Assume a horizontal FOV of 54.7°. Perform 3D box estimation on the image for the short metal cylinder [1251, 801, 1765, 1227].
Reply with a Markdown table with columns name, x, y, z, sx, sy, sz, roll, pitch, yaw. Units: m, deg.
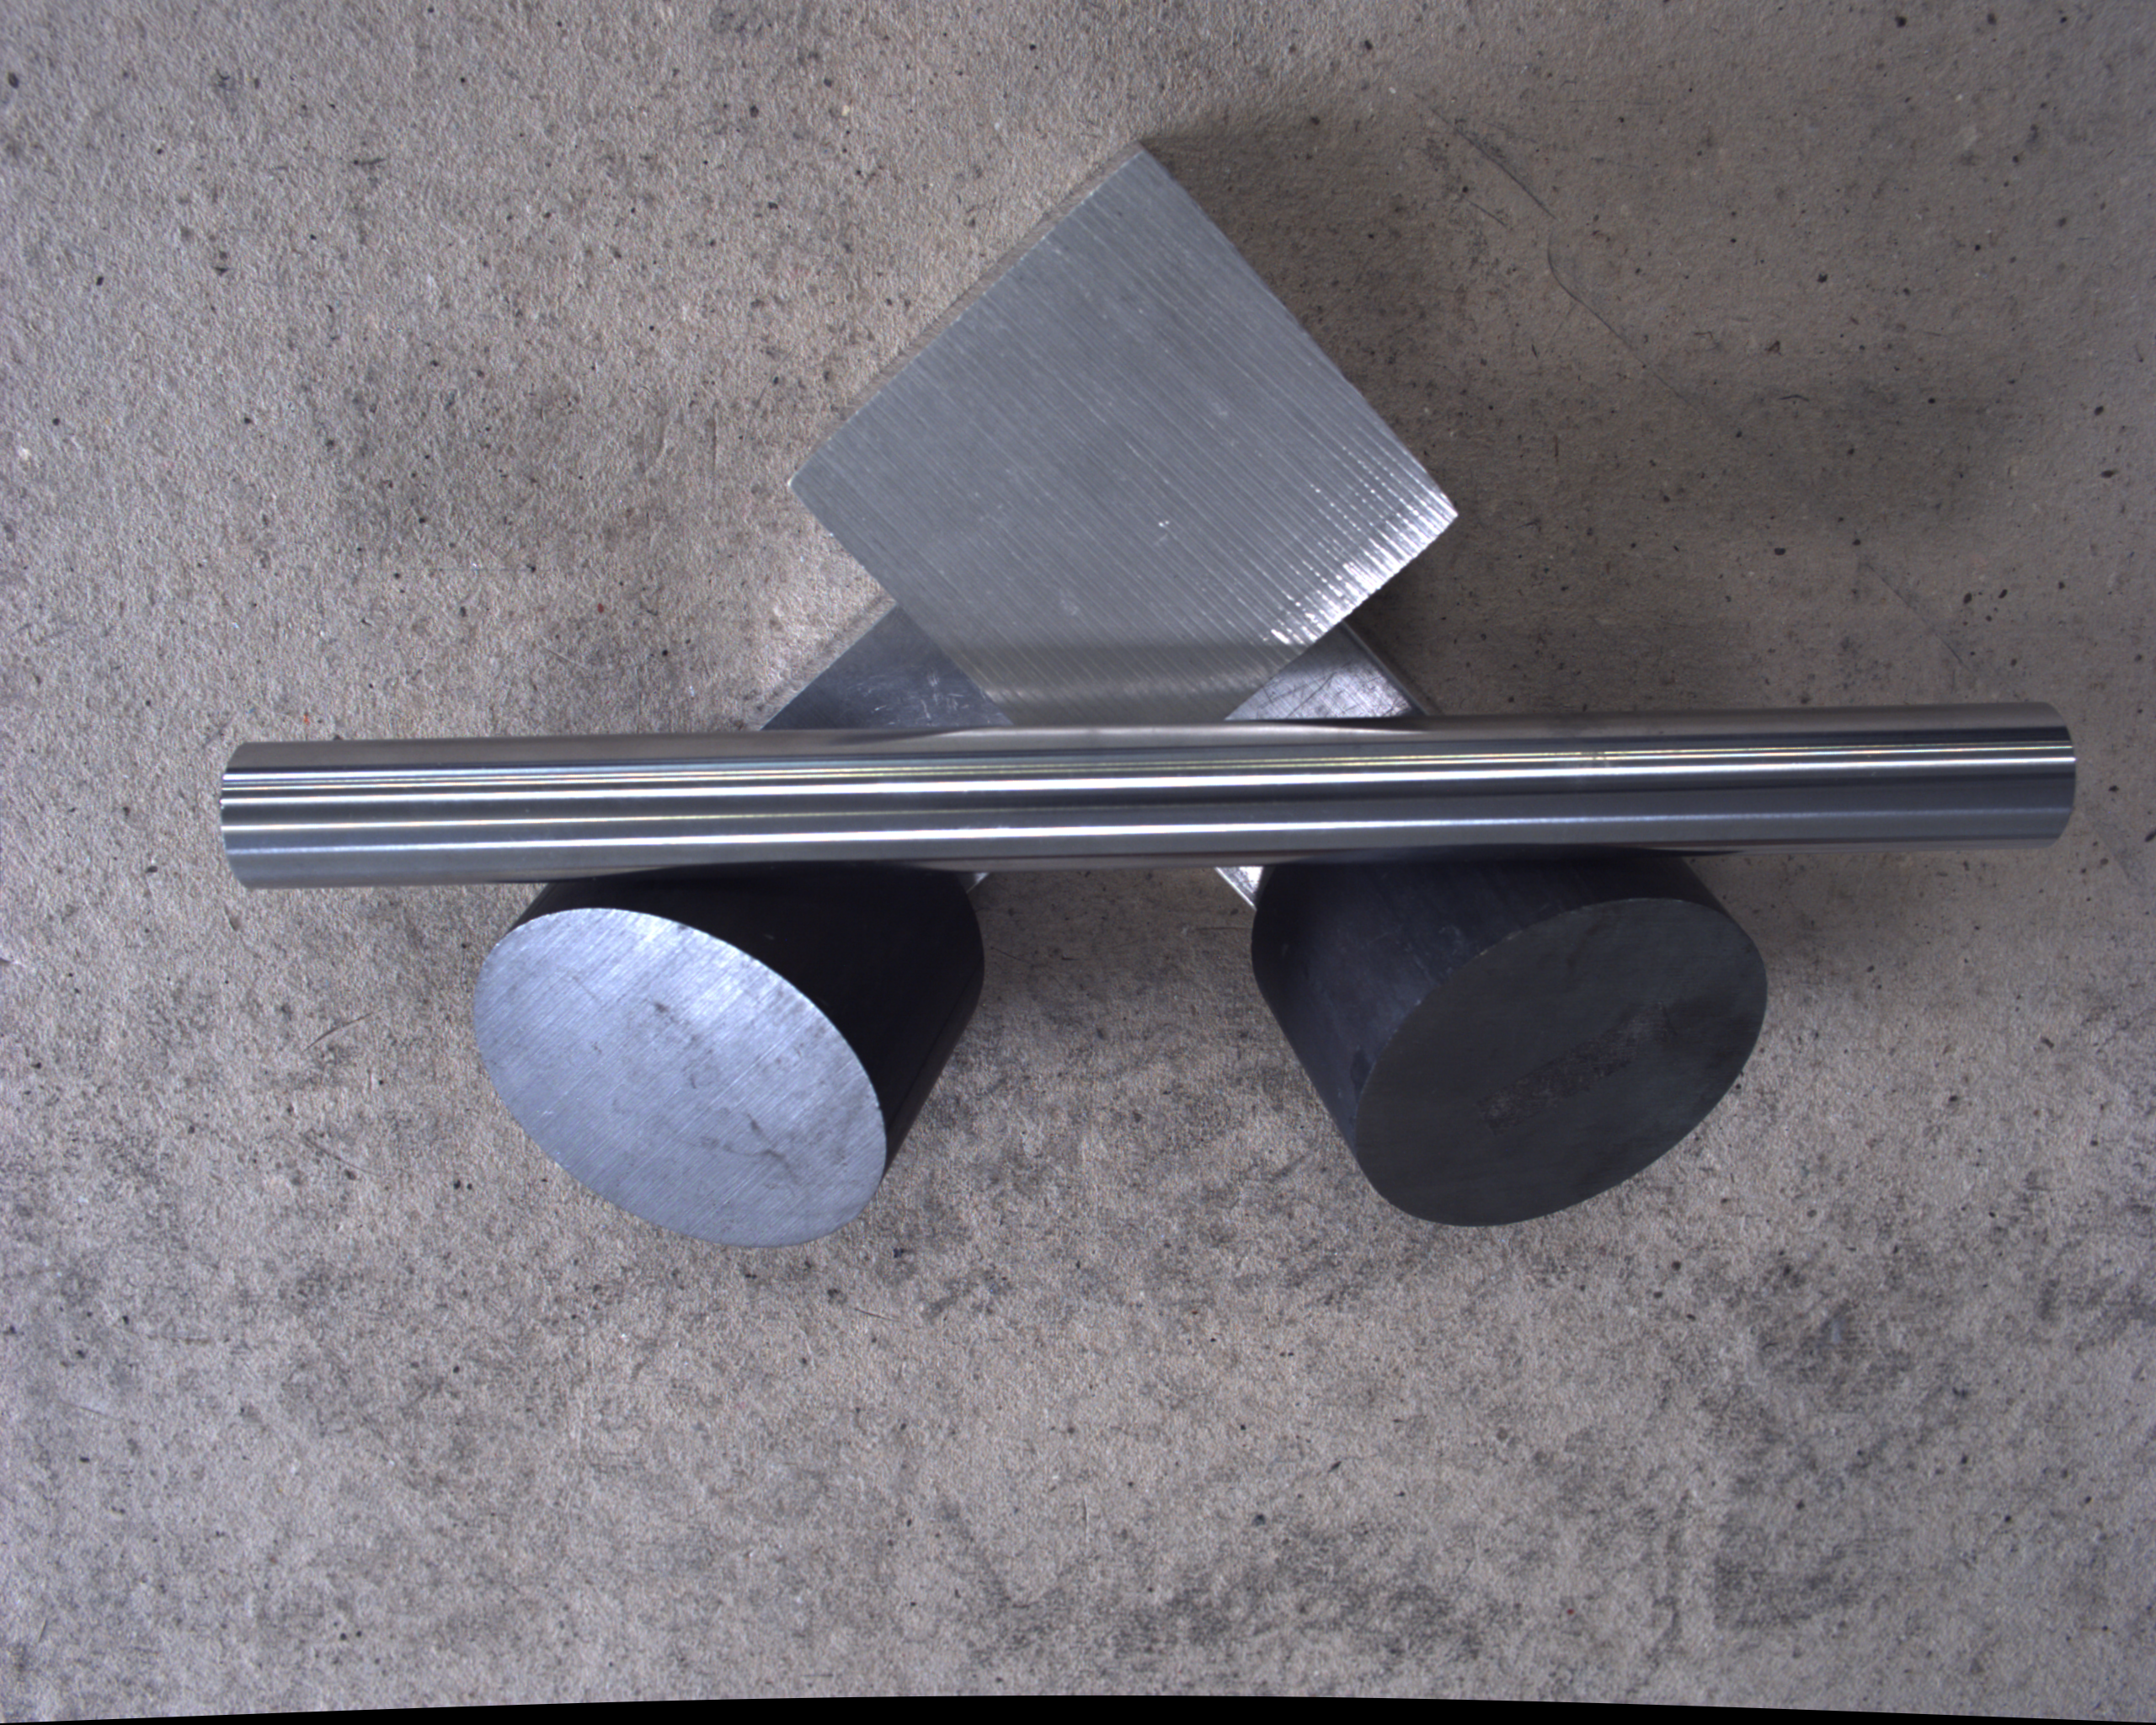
| name | x | y | z | sx | sy | sz | roll | pitch | yaw |
| --- | --- | --- | --- | --- | --- | --- | --- | --- | --- |
| short metal cylinder | 0.079 | 0.022 | 0.392 | 0.081 | 0.050 | 0.079 | -12 | 130 | -14 |

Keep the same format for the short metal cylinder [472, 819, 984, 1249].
| name | x | y | z | sx | sy | sz | roll | pitch | yaw |
| --- | --- | --- | --- | --- | --- | --- | --- | --- | --- |
| short metal cylinder | -0.064 | 0.026 | 0.391 | 0.080 | 0.050 | 0.079 | 11 | 129 | 14 |

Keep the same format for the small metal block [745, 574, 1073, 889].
| name | x | y | z | sx | sy | sz | roll | pitch | yaw |
| --- | --- | --- | --- | --- | --- | --- | --- | --- | --- |
| small metal block | -0.030 | -0.023 | 0.402 | 0.050 | 0.025 | 0.050 | -42 | 105 | 12 |

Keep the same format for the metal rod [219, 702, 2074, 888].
| name | x | y | z | sx | sy | sz | roll | pitch | yaw |
| --- | --- | --- | --- | --- | --- | --- | --- | --- | --- |
| metal rod | 0.011 | -0.011 | 0.352 | 0.302 | 0.025 | 0.025 | -1 | 110 | 0 |

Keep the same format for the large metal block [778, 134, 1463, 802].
| name | x | y | z | sx | sy | sz | roll | pitch | yaw |
| --- | --- | --- | --- | --- | --- | --- | --- | --- | --- |
| large metal block | 0.007 | -0.070 | 0.370 | 0.080 | 0.050 | 0.080 | -40 | 106 | 13 |

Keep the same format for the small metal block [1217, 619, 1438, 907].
| name | x | y | z | sx | sy | sz | roll | pitch | yaw |
| --- | --- | --- | --- | --- | --- | --- | --- | --- | --- |
| small metal block | 0.042 | -0.021 | 0.403 | 0.050 | 0.025 | 0.050 | -41 | 105 | 13 |
